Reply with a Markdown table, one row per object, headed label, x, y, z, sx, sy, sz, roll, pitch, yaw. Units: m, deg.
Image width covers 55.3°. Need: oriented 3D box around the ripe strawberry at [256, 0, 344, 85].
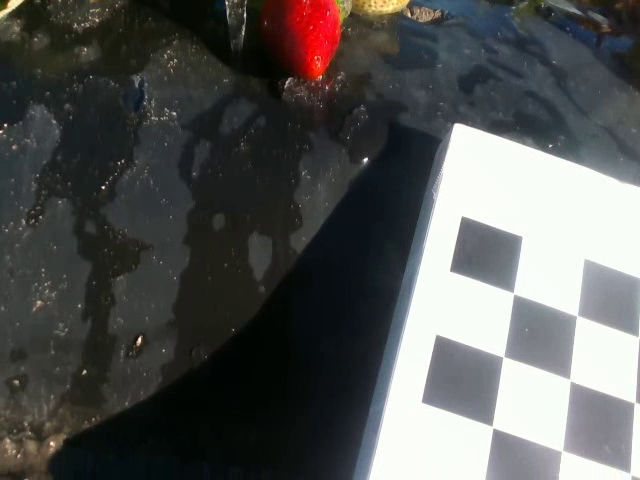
| label | x | y | z | sx | sy | sz | roll | pitch | yaw |
| --- | --- | --- | --- | --- | --- | --- | --- | --- | --- |
| ripe strawberry | -0.004 | -0.092 | 0.251 | 0.041 | 0.052 | 0.040 | 4 | -33 | -11 |
